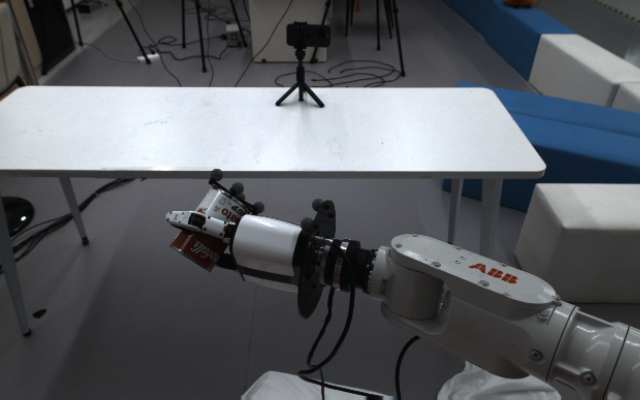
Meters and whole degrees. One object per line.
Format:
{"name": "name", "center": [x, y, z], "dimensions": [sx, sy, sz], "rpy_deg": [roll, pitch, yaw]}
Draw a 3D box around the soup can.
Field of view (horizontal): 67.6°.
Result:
{"name": "soup can", "center": [-0.153, 0.042, 0.676], "dimensions": [0.067, 0.067, 0.101], "rpy_deg": [25, 73, 29]}
